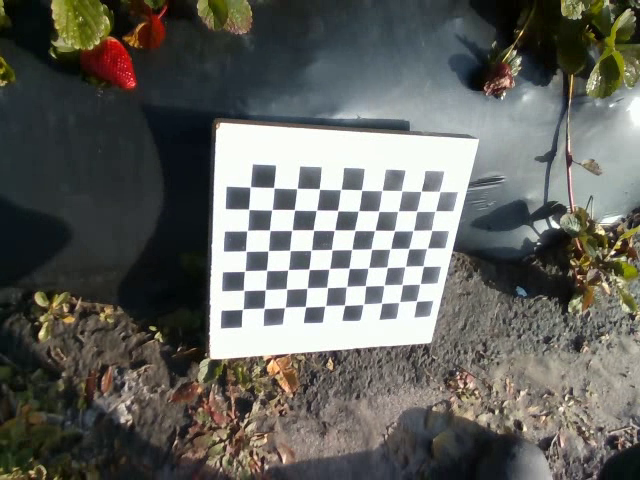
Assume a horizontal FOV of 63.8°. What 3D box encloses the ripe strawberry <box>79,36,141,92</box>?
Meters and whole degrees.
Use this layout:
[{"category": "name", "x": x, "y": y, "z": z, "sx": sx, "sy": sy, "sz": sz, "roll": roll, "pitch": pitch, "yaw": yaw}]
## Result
[{"category": "ripe strawberry", "x": -0.177, "y": -0.147, "z": 0.437, "sx": 0.056, "sy": 0.041, "sz": 0.040, "roll": 47, "pitch": 9, "yaw": 17}]
